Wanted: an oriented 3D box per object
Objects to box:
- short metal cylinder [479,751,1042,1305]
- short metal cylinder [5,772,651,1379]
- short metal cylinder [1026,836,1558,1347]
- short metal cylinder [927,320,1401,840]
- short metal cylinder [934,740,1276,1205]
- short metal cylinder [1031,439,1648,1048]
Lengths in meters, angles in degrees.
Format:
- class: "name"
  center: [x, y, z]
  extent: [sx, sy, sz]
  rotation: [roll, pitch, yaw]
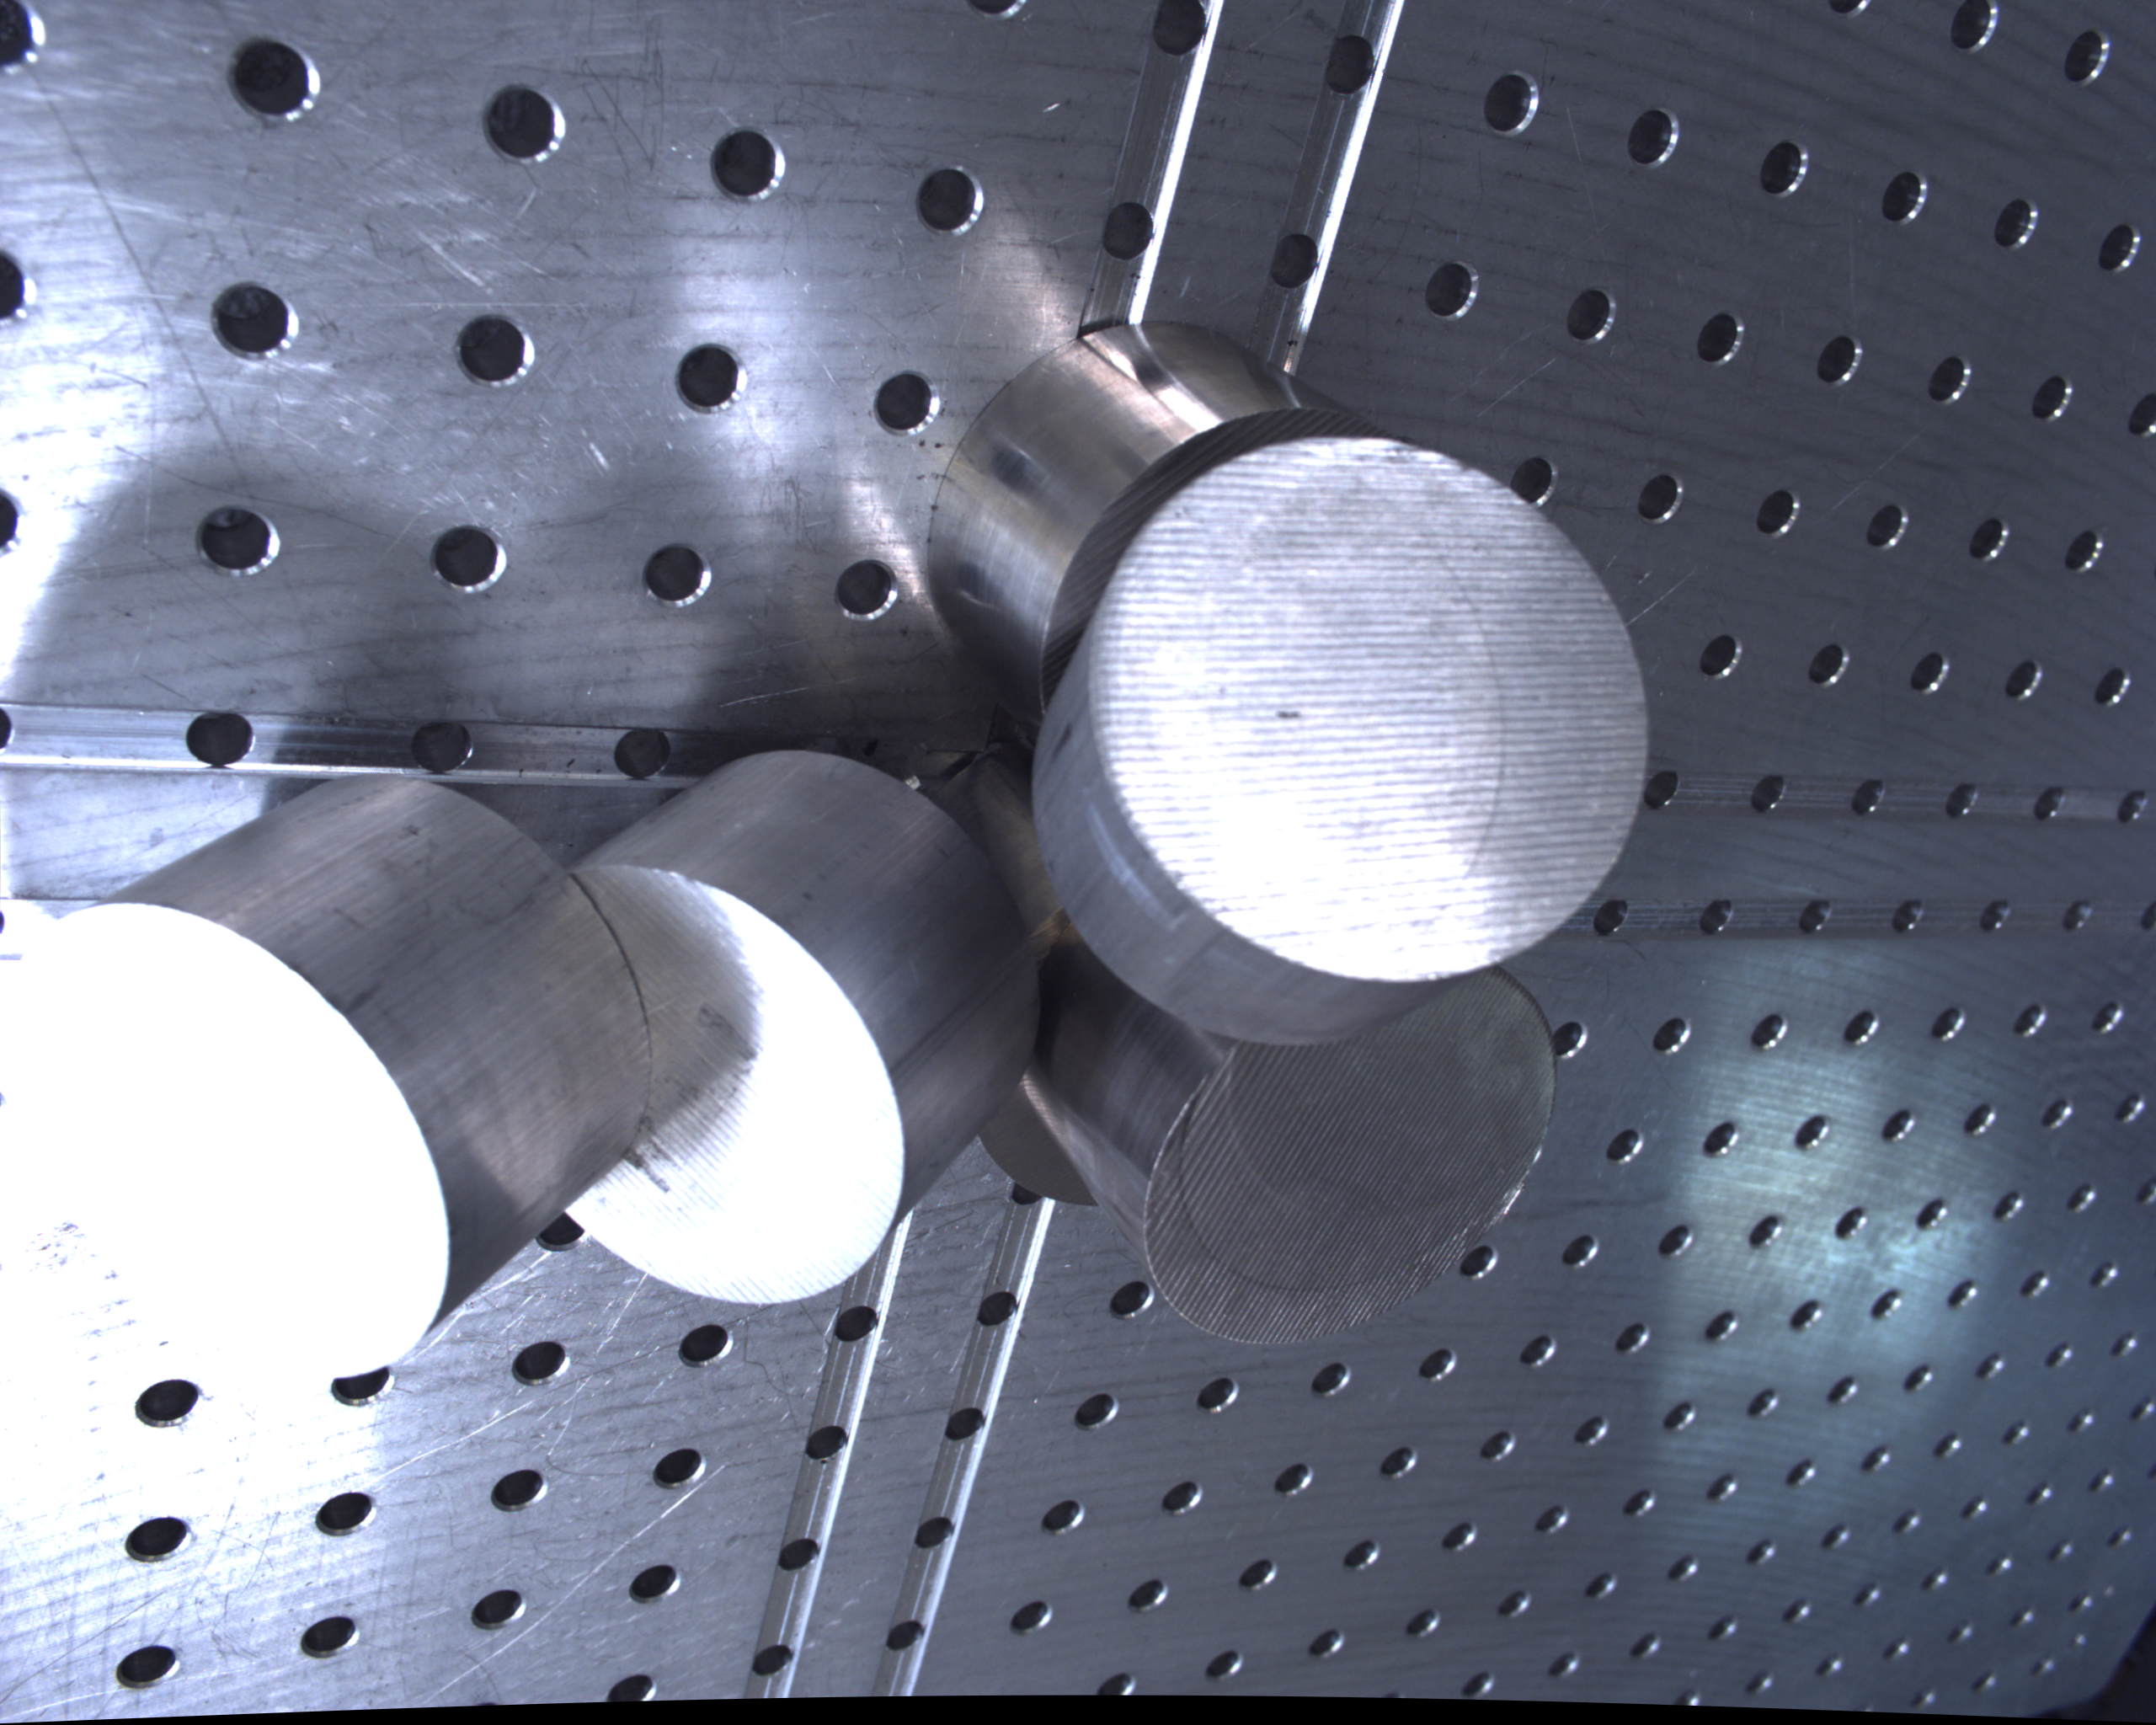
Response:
- class: "short metal cylinder"
  center: [-0.053, 0.027, 0.354]
  extent: [0.050, 0.080, 0.079]
  rotation: [-45, 148, -56]
- class: "short metal cylinder"
  center: [-0.115, 0.032, 0.324]
  extent: [0.050, 0.080, 0.079]
  rotation: [-47, 149, -56]
- class: "short metal cylinder"
  center: [0.037, 0.039, 0.372]
  extent: [0.081, 0.050, 0.079]
  rotation: [-14, 124, -21]
- class: "short metal cylinder"
  center: [0.020, -0.051, 0.374]
  extent: [0.081, 0.050, 0.079]
  rotation: [-14, 124, -21]
- class: "short metal cylinder"
  center: [0.006, 0.020, 0.409]
  extent: [0.081, 0.050, 0.079]
  rotation: [-14, 124, -21]
- class: "short metal cylinder"
  center: [0.037, -0.016, 0.312]
  extent: [0.081, 0.080, 0.050]
  rotation: [-22, 170, -16]
